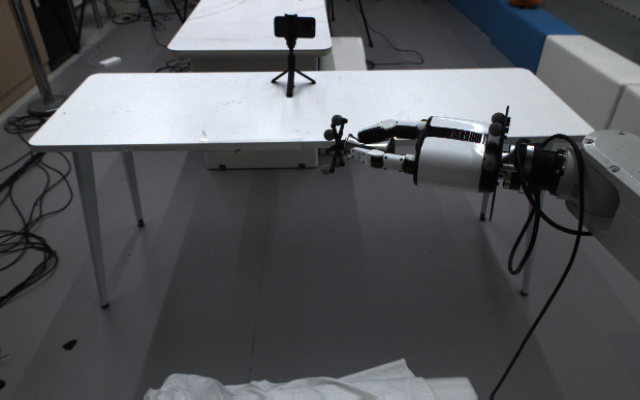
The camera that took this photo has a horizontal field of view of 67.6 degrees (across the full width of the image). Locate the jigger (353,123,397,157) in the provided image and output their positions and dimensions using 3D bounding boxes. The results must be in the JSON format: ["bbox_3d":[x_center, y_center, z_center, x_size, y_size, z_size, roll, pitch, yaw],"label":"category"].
[{"bbox_3d":[0.079,-0.080,0.728,0.071,0.043,0.043,10,35,22],"label":"jigger"}]
